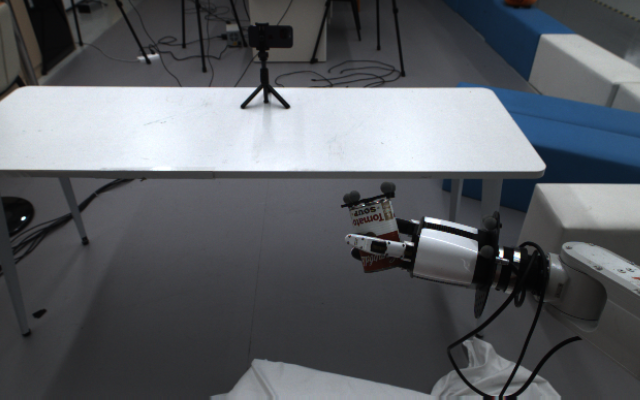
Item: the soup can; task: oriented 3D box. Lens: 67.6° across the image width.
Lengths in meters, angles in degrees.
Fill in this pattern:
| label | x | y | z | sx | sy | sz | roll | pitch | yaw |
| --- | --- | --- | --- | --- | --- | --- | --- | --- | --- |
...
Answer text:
| label | x | y | z | sx | sy | sz | roll | pitch | yaw |
| --- | --- | --- | --- | --- | --- | --- | --- | --- | --- |
| soup can | 0.089 | 0.054 | 0.739 | 0.067 | 0.101 | 0.067 | -14 | -2 | -1 |
